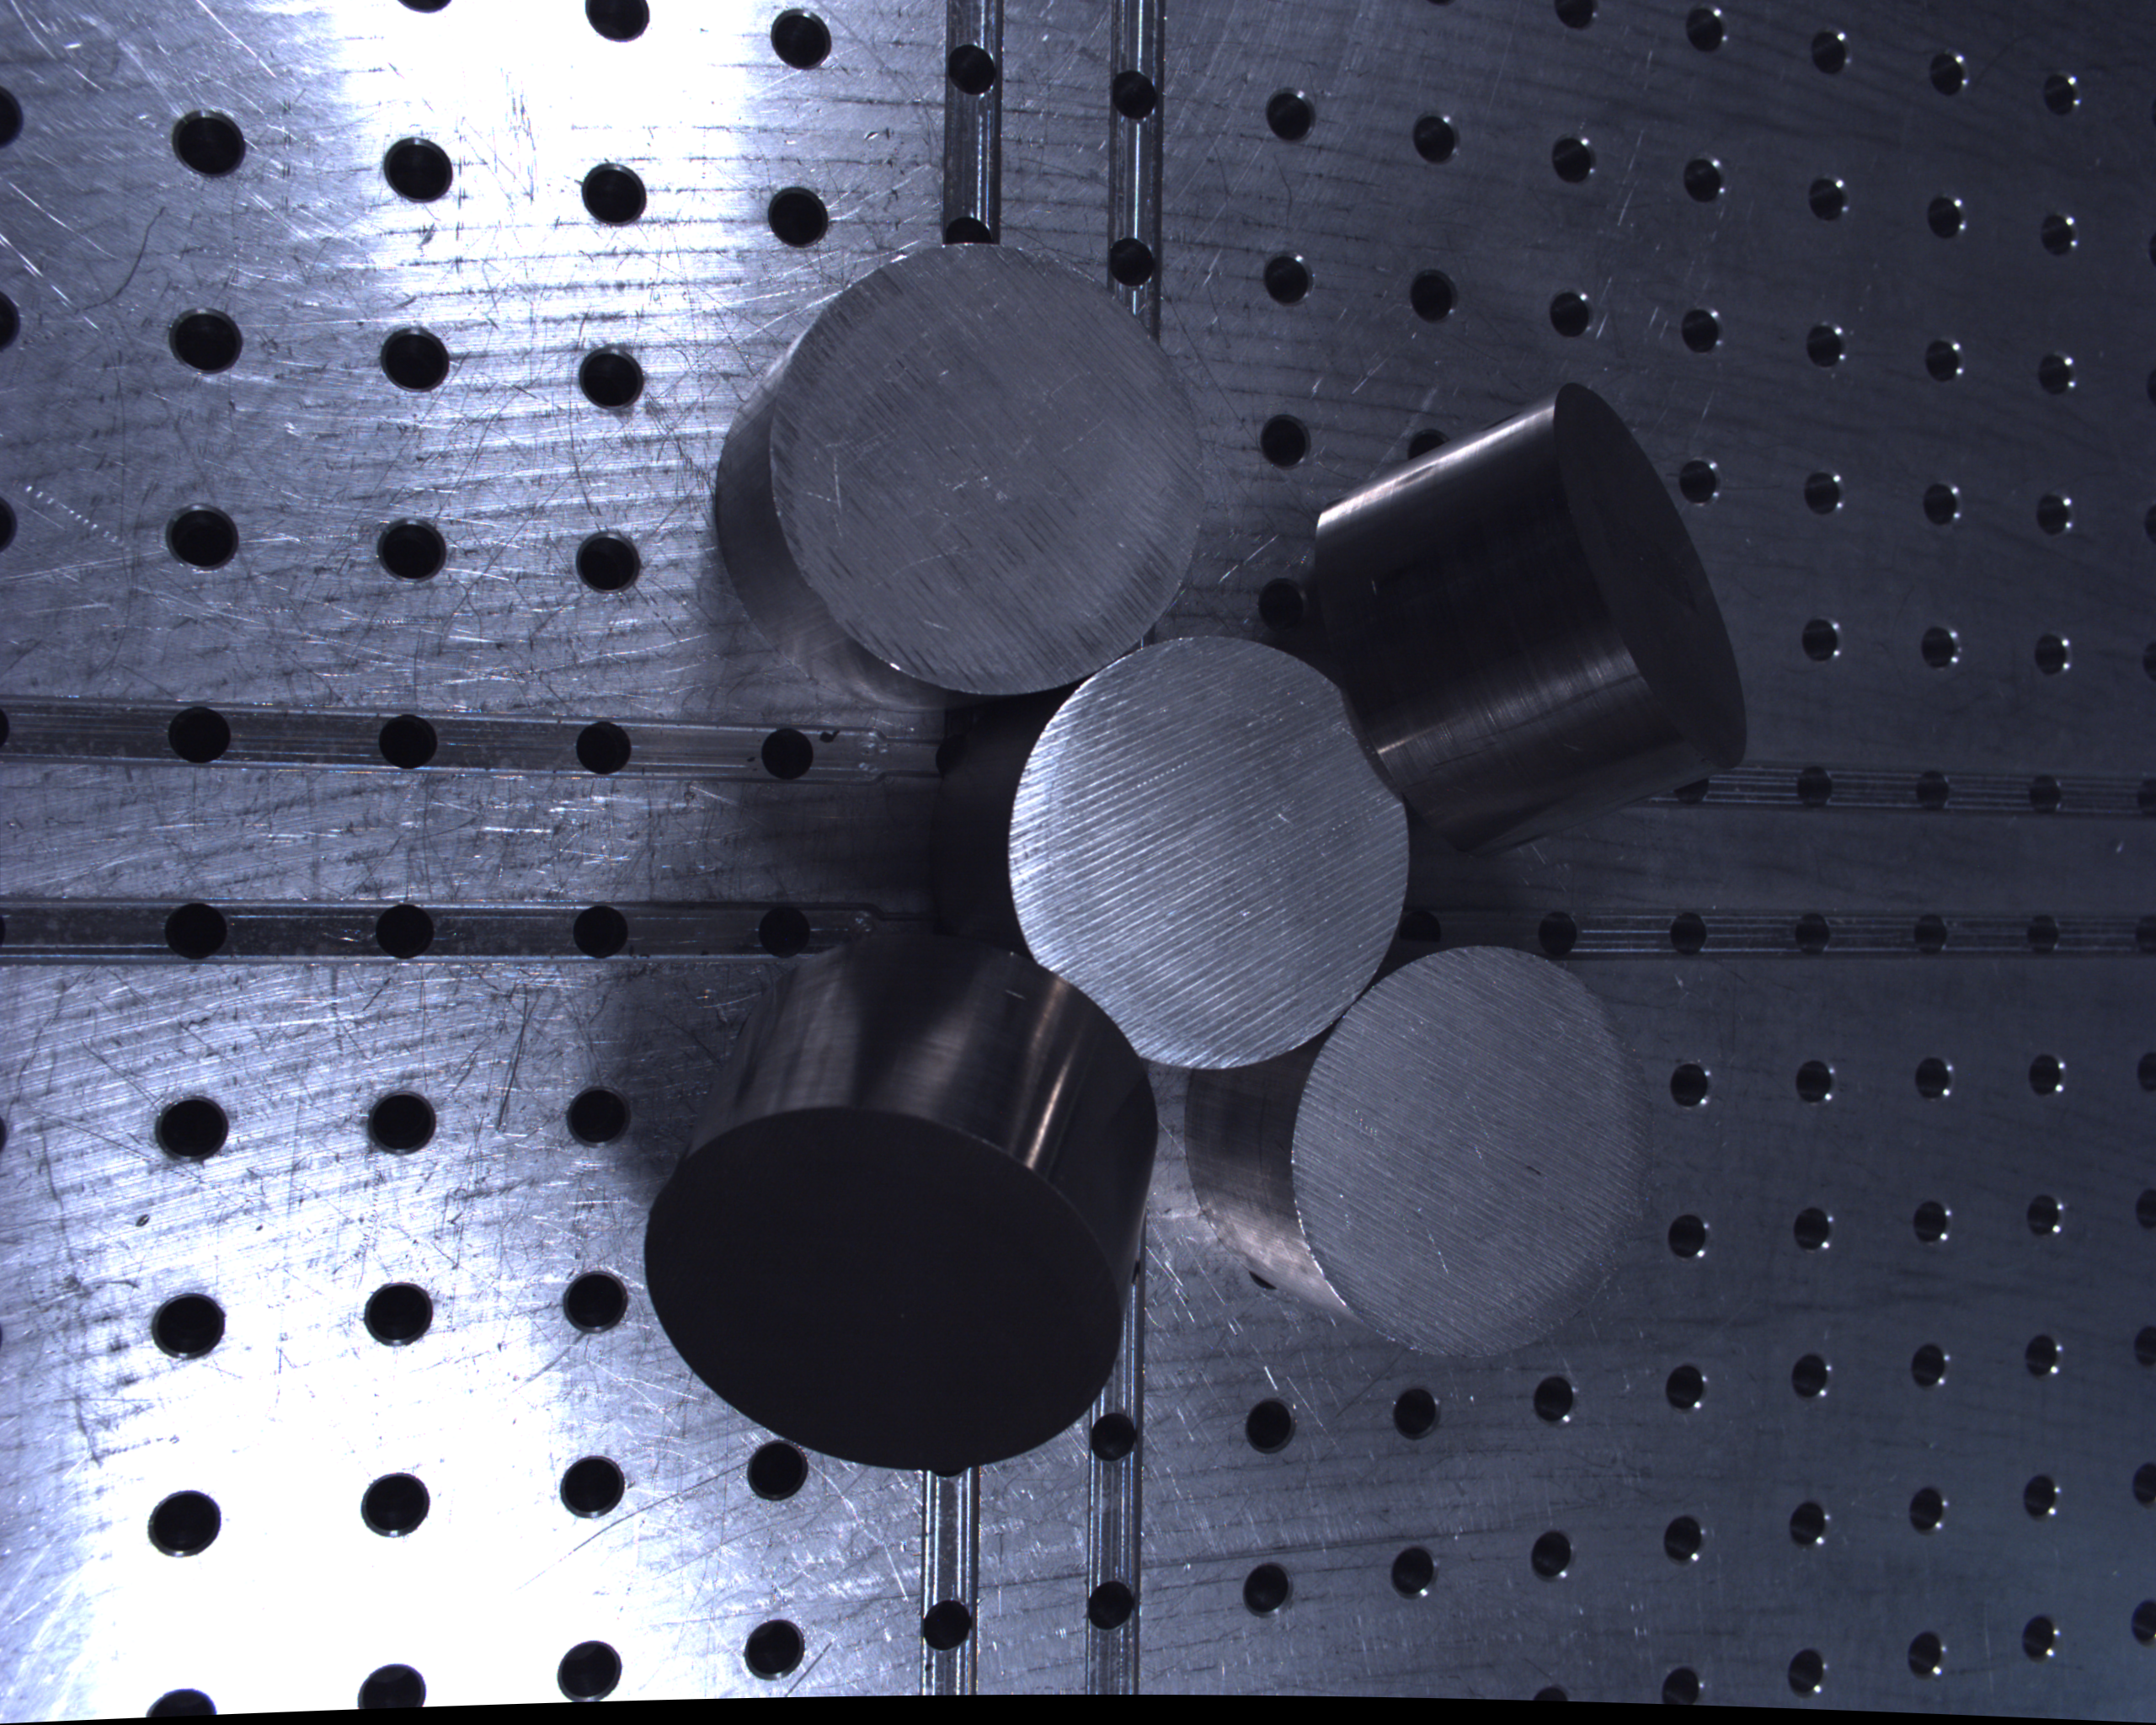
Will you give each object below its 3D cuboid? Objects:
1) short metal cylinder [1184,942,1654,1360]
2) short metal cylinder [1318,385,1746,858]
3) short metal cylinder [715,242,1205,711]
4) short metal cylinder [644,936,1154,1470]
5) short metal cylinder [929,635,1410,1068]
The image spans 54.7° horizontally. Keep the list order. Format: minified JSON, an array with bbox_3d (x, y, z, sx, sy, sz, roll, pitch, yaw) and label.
[{"bbox_3d":[0.069,0.056,0.426,0.081,0.050,0.079,0,90,-21],"label":"short metal cylinder"},{"bbox_3d":[0.091,-0.047,0.412,0.080,0.050,0.080,36,42,-41],"label":"short metal cylinder"},{"bbox_3d":[-0.023,-0.070,0.391,0.081,0.050,0.079,0,90,-21],"label":"short metal cylinder"},{"bbox_3d":[-0.029,0.060,0.367,0.080,0.050,0.079,4,121,7],"label":"short metal cylinder"},{"bbox_3d":[0.017,-0.002,0.406,0.081,0.050,0.079,0,90,-21],"label":"short metal cylinder"}]
